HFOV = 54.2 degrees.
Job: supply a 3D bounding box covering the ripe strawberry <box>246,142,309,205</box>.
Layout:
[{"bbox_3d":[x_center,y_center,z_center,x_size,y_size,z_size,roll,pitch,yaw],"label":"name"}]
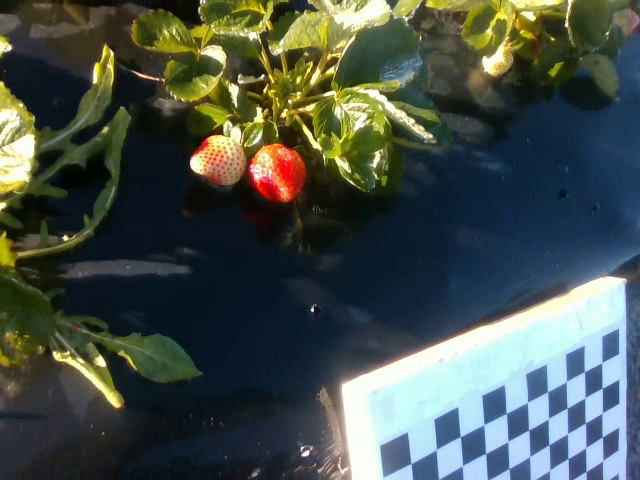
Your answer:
[{"bbox_3d":[-0.022,-0.038,0.375,0.040,0.038,0.056,-24,24,1],"label":"ripe strawberry"}]
